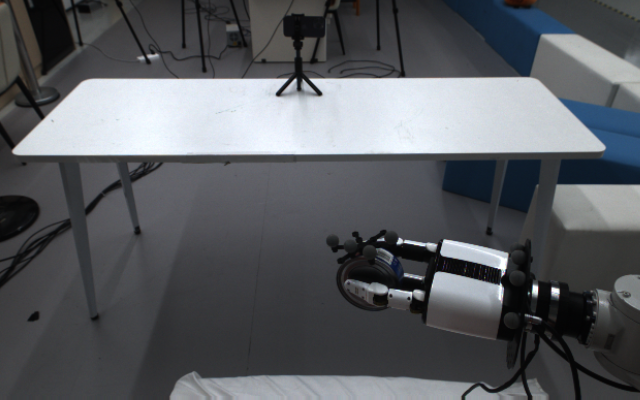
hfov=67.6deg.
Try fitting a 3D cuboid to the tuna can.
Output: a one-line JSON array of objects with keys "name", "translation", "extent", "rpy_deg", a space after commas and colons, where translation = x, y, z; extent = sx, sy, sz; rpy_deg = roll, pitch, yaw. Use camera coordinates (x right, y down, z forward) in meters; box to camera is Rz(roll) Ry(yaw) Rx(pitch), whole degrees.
[{"name": "tuna can", "translation": [0.069, 0.103, 0.642], "extent": [0.085, 0.085, 0.034], "rpy_deg": [13, 28, 15]}]
